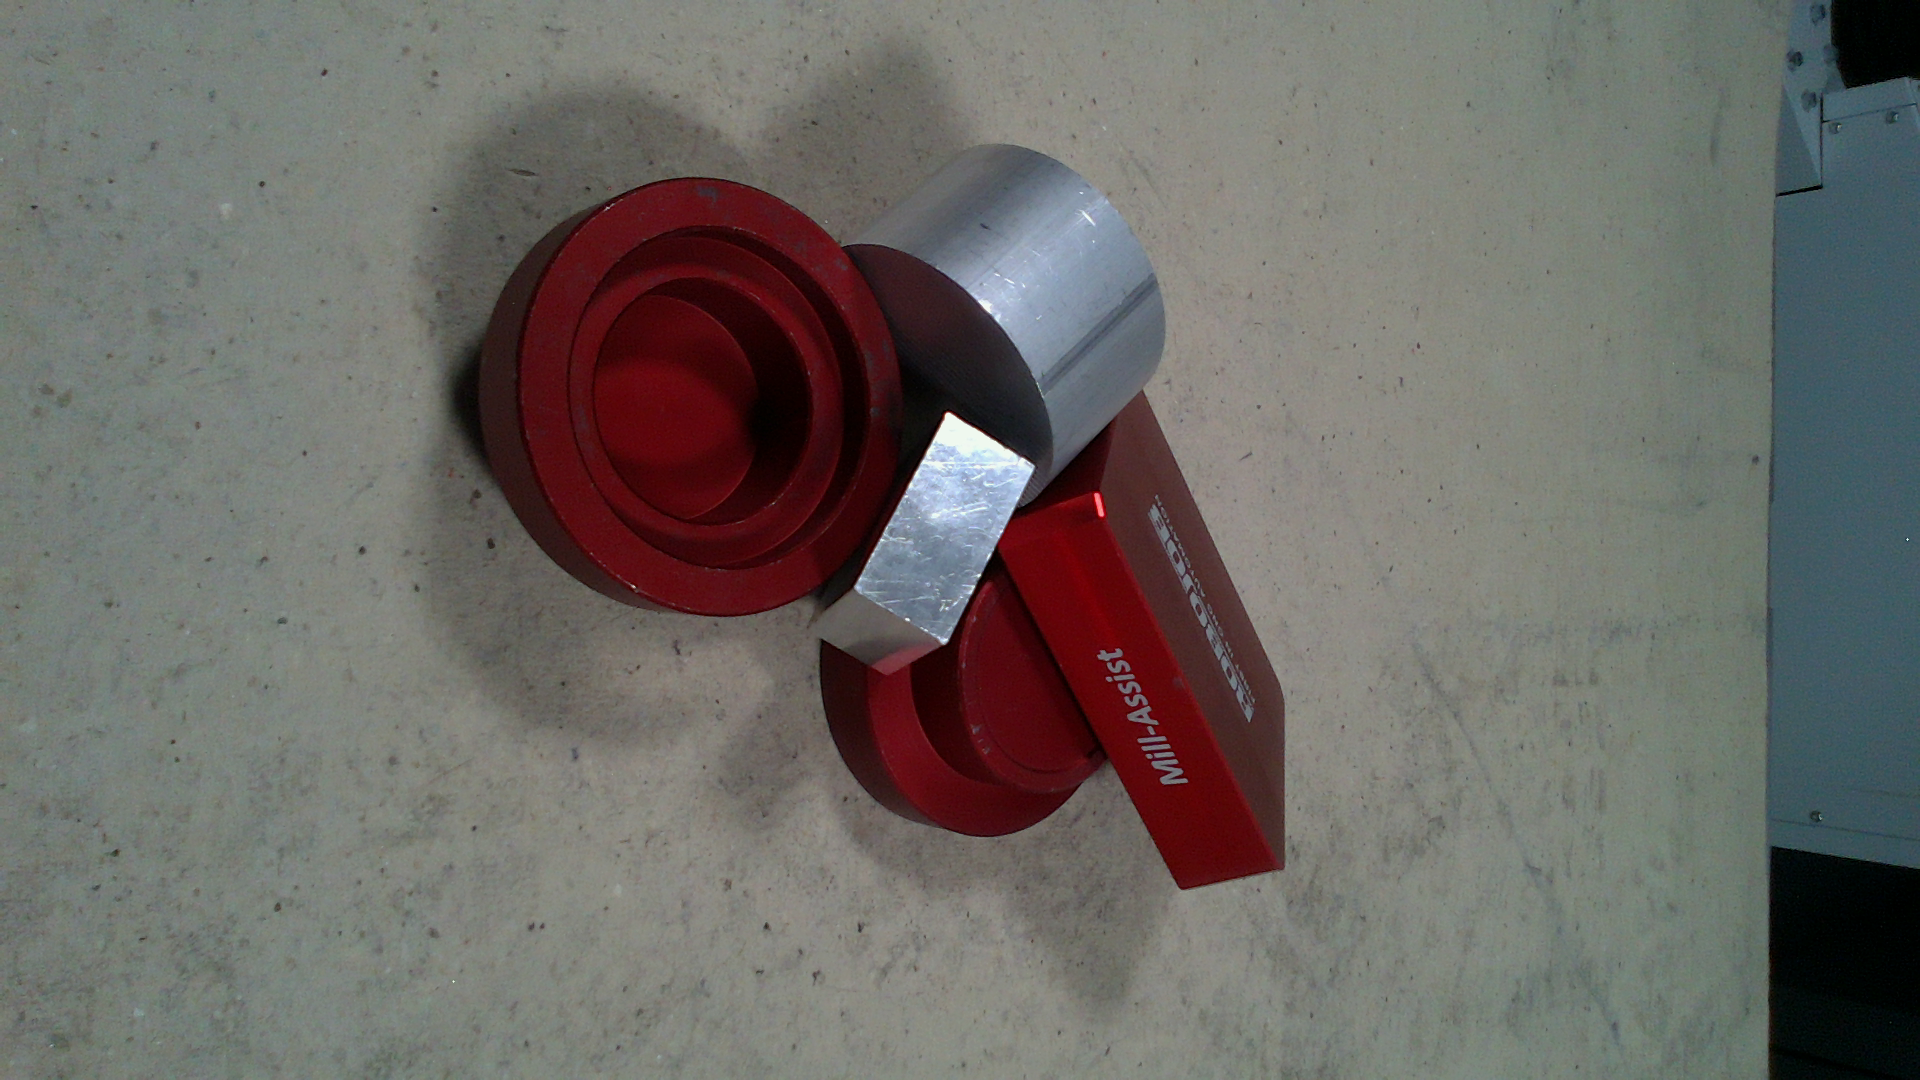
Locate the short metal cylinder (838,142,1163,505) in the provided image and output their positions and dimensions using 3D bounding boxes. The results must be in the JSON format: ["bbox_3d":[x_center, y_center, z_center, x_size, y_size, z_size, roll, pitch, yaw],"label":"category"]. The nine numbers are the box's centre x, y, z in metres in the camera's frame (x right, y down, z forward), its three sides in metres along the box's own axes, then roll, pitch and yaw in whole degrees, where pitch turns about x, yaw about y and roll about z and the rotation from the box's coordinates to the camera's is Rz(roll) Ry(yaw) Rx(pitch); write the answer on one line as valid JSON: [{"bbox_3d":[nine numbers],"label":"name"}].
[{"bbox_3d":[0.005,-0.055,0.359,0.050,0.080,0.080,-45,117,-30],"label":"short metal cylinder"}]

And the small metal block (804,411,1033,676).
[{"bbox_3d":[-0.012,0.002,0.340,0.025,0.050,0.050,30,69,-10],"label":"small metal block"}]

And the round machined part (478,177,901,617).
[{"bbox_3d":[-0.065,-0.032,0.324,0.098,0.042,0.098,0,90,-40],"label":"round machined part"}]

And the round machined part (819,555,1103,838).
[{"bbox_3d":[0.012,0.035,0.388,0.098,0.042,0.098,0,90,-40],"label":"round machined part"}]

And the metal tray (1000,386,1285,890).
[{"bbox_3d":[0.059,0.025,0.406,0.130,0.030,0.090,61,24,-22],"label":"metal tray"}]
